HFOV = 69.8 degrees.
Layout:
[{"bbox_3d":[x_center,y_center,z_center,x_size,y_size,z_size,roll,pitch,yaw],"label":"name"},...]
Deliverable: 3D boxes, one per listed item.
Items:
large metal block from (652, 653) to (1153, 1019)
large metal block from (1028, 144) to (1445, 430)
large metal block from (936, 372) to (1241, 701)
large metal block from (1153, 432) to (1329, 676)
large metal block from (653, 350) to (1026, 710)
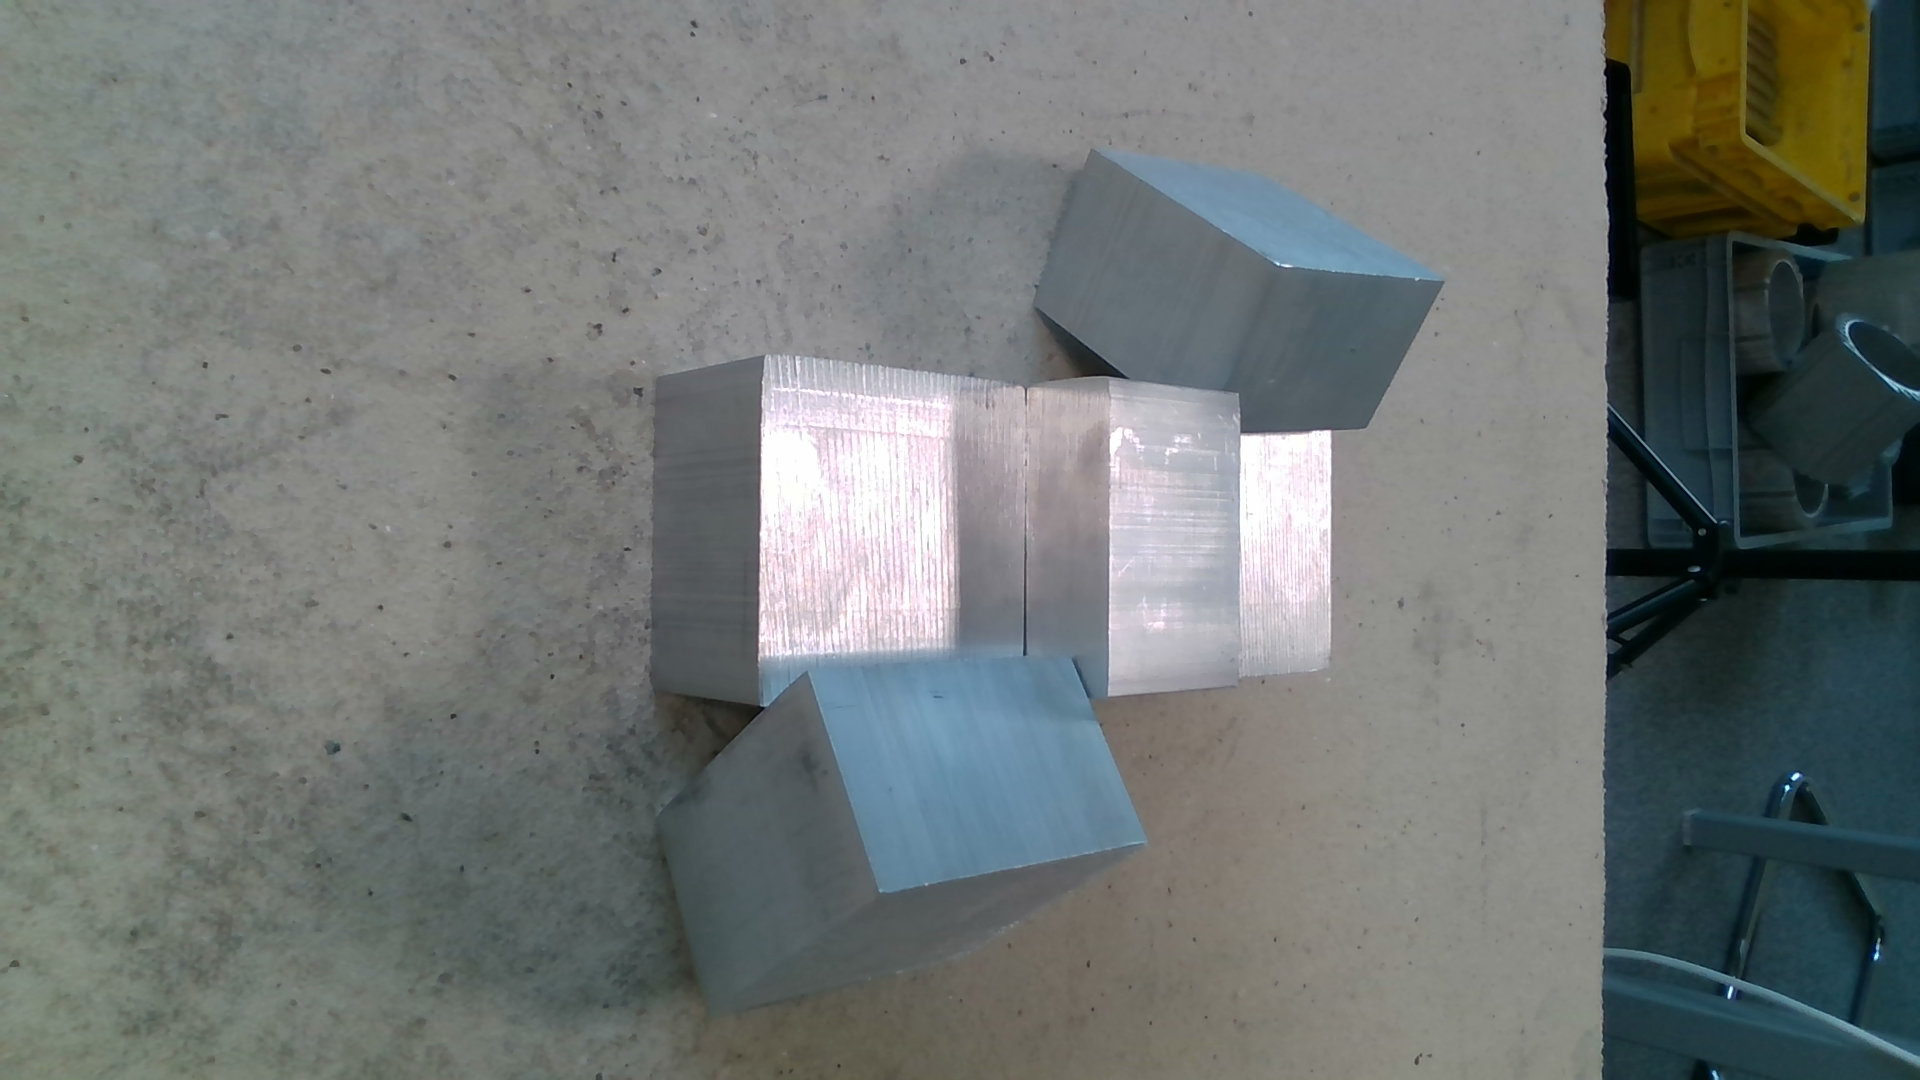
[{"bbox_3d":[-0.016,0.070,0.333,0.080,0.080,0.050,0,58,-40],"label":"large metal block"},{"bbox_3d":[0.082,-0.075,0.415,0.080,0.080,0.050,-5,127,-40],"label":"large metal block"},{"bbox_3d":[0.030,0.000,0.381,0.050,0.080,0.080,0,90,-40],"label":"large metal block"},{"bbox_3d":[0.071,0.001,0.433,0.080,0.050,0.080,1,89,-41],"label":"large metal block"},{"bbox_3d":[-0.030,-0.001,0.350,0.080,0.050,0.080,1,89,-39],"label":"large metal block"}]
